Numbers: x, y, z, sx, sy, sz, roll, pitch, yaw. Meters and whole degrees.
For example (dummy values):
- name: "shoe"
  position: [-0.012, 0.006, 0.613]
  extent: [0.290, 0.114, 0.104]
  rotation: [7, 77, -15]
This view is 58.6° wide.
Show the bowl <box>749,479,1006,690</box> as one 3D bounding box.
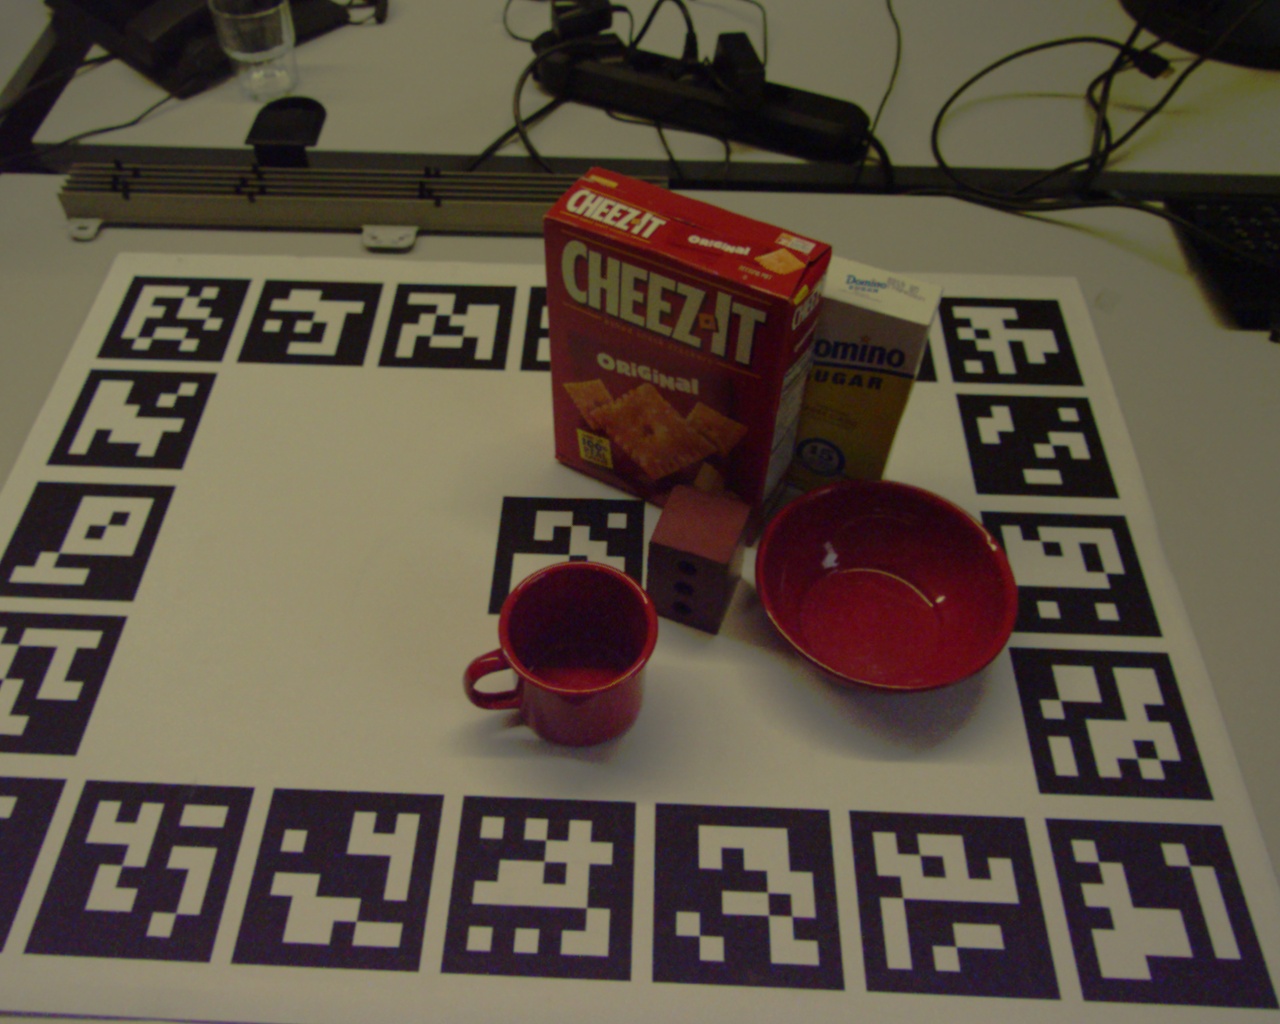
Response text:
- name: "bowl"
  position: [0.150, 0.056, 0.743]
  extent: [0.161, 0.055, 0.162]
  rotation: [0, 52, 0]

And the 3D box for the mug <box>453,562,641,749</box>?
- name: "mug"
  position: [-0.057, 0.093, 0.705]
  extent: [0.117, 0.081, 0.094]
  rotation: [-6, 43, -3]

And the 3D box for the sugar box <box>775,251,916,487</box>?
- name: "sugar box"
  position: [0.128, -0.090, 0.796]
  extent: [0.093, 0.176, 0.045]
  rotation: [19, 53, 14]

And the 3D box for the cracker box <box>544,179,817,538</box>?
- name: "cracker box"
  position: [0.017, -0.095, 0.777]
  extent: [0.166, 0.213, 0.071]
  rotation: [27, 53, 18]

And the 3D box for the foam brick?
- name: "foam brick"
  position: [0.028, 0.030, 0.769]
  extent: [0.053, 0.078, 0.051]
  rotation: [14, 52, 11]
